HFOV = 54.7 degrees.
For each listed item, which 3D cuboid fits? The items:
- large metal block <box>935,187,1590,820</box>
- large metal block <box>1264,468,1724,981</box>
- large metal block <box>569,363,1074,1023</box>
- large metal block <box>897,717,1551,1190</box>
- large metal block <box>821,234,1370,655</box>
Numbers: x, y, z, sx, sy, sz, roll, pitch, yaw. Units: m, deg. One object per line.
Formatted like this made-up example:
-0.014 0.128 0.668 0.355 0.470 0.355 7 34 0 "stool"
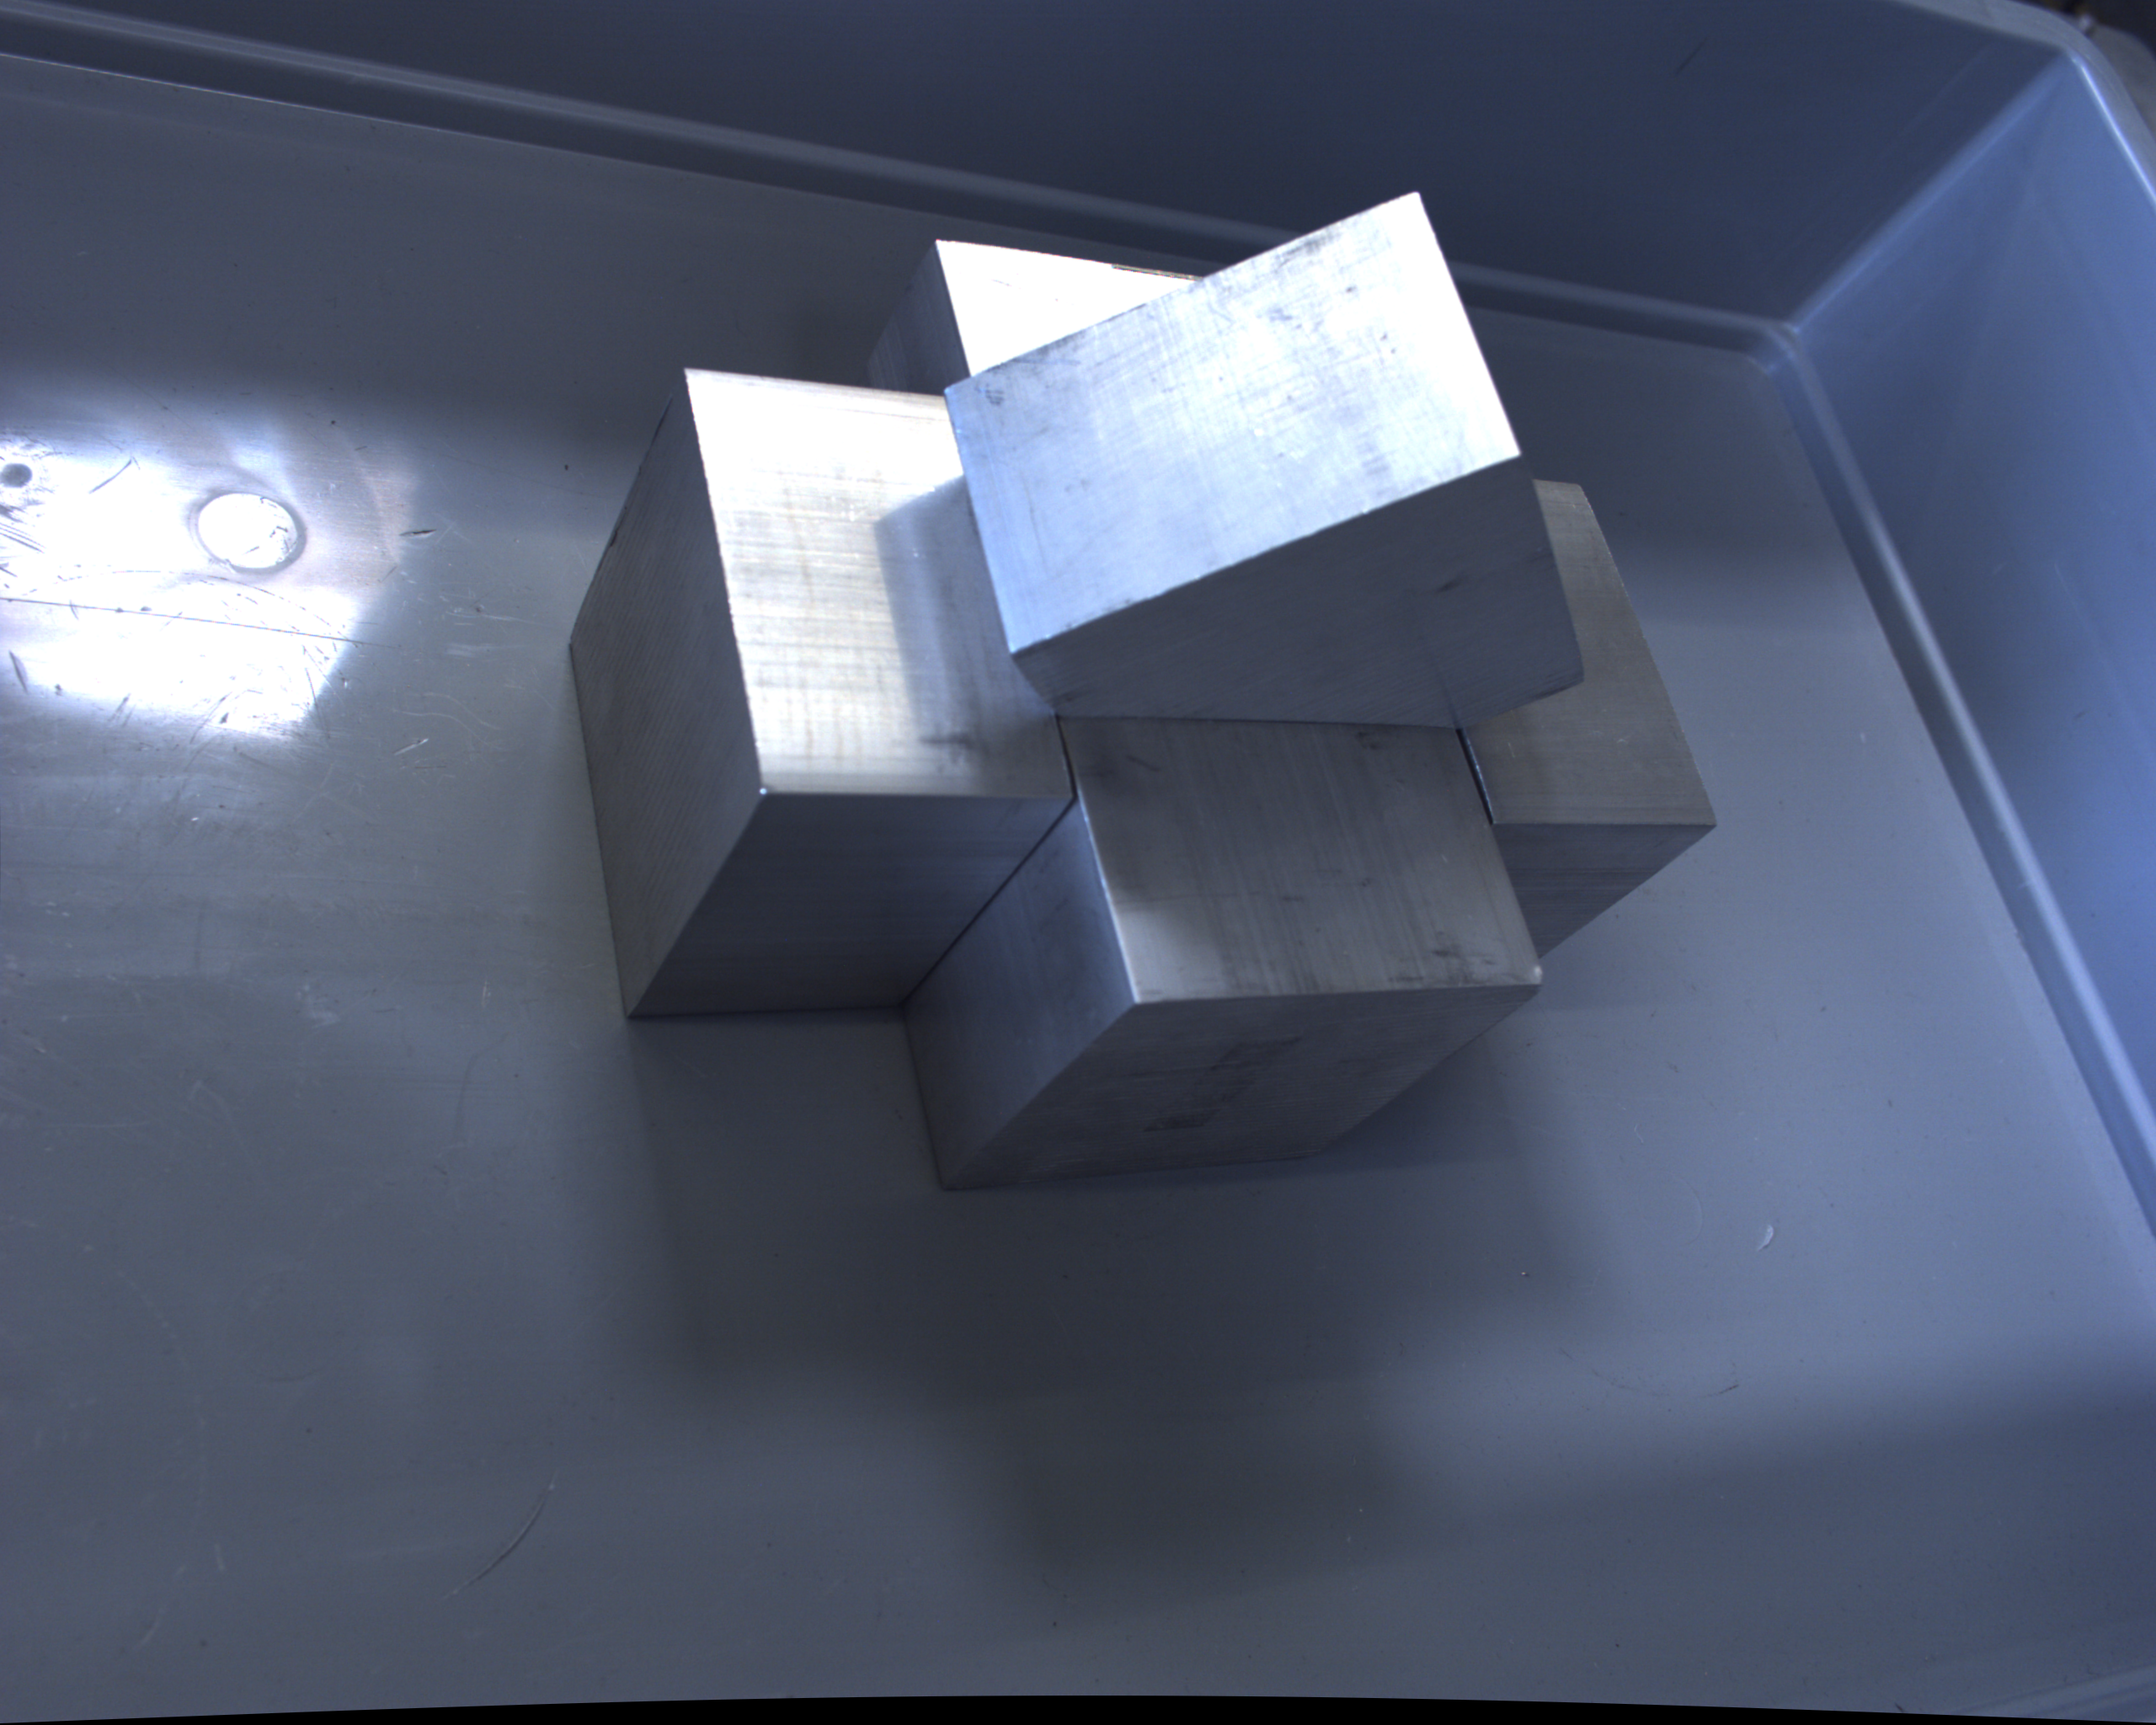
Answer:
0.033 -0.053 0.346 0.080 0.080 0.050 45 27 -62 "large metal block"
0.071 -0.024 0.419 0.050 0.080 0.080 0 62 -29 "large metal block"
-0.048 -0.026 0.359 0.050 0.080 0.080 0 62 -28 "large metal block"
0.021 0.017 0.369 0.081 0.080 0.050 0 62 -28 "large metal block"
-0.002 -0.071 0.411 0.081 0.080 0.050 0 62 -28 "large metal block"
